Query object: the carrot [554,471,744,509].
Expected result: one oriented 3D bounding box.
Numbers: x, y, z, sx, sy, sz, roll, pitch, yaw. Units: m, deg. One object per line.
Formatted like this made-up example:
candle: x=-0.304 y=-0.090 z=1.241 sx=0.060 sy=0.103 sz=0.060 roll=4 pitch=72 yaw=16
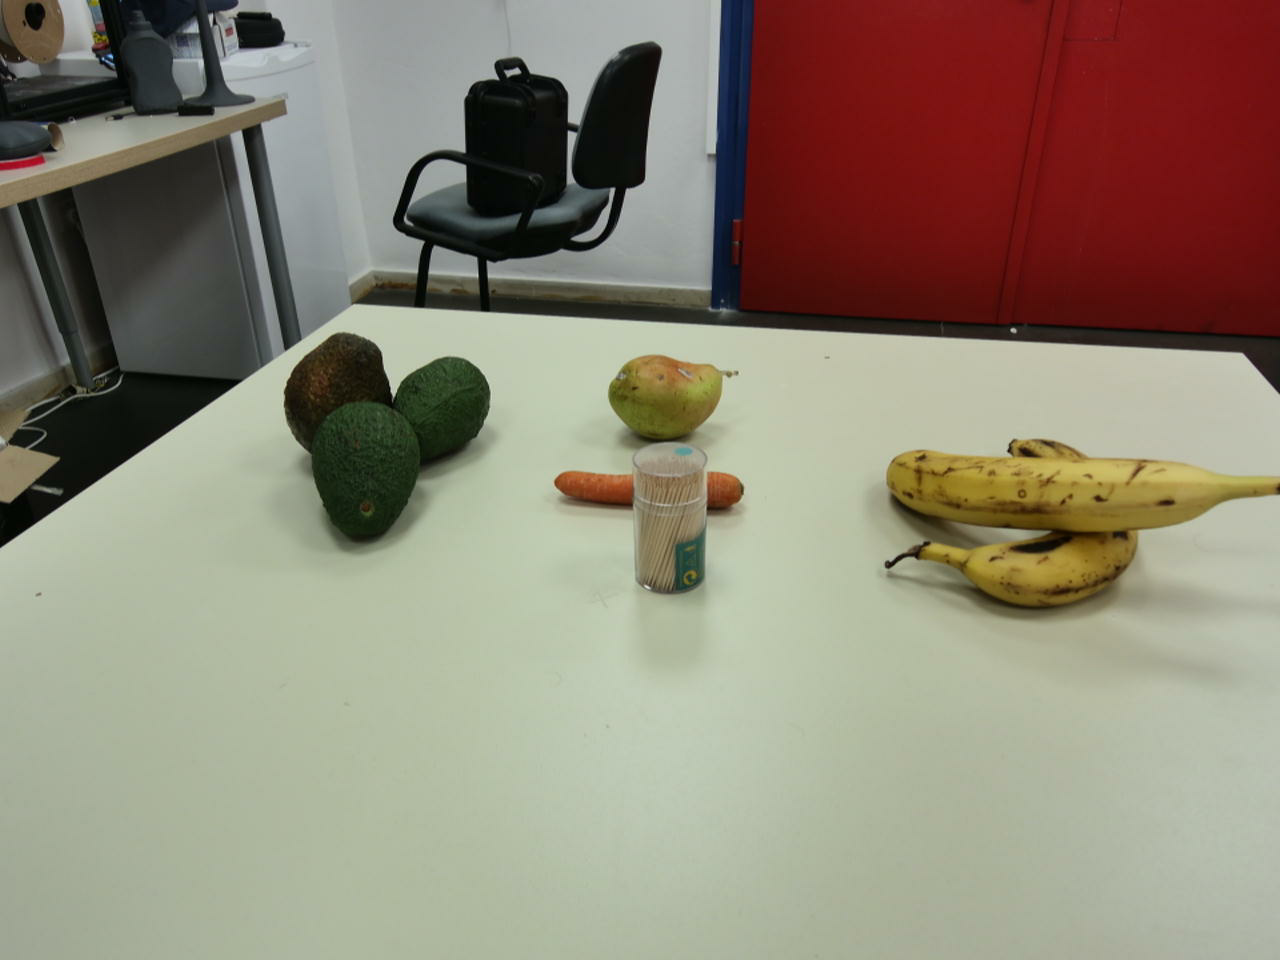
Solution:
carrot: x=0.005 y=0.004 z=0.636 sx=0.122 sy=0.023 sz=0.024 roll=4 pitch=26 yaw=8
